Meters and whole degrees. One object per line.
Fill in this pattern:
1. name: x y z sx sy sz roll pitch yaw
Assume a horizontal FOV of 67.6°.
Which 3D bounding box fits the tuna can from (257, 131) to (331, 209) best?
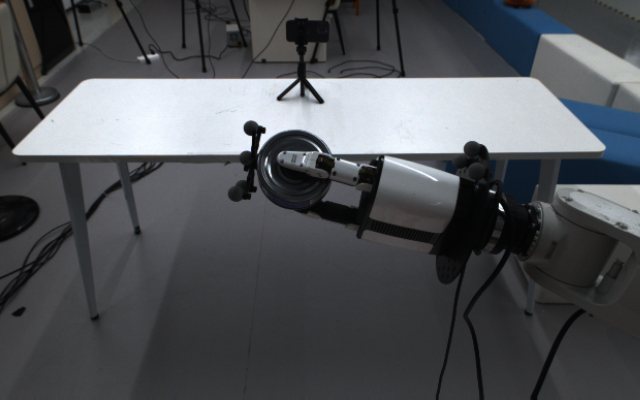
1. tuna can: -0.024 -0.031 0.539 0.085 0.034 0.085 2 73 -5
